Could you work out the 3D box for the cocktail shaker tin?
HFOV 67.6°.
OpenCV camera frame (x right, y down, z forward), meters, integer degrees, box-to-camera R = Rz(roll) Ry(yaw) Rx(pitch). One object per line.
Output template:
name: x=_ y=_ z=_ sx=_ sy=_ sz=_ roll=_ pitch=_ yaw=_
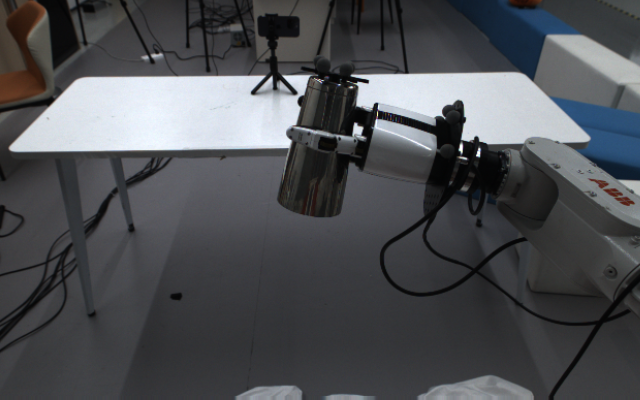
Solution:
cocktail shaker tin: x=0.002 y=-0.074 z=0.646 sx=0.093 sy=0.170 sz=0.093 roll=11 pitch=19 yaw=-4
